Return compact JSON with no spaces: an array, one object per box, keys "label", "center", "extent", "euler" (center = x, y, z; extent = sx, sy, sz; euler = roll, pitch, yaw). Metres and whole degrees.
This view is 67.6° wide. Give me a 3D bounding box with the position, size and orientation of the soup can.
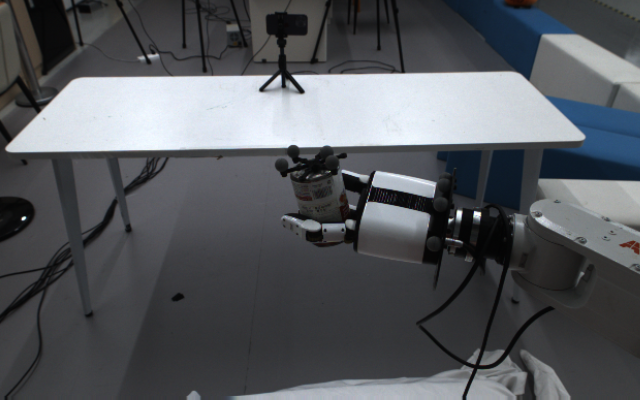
[{"label":"soup can","center":[0.005,0.002,0.642],"extent":[0.067,0.101,0.067],"euler":[-11,27,6]}]
